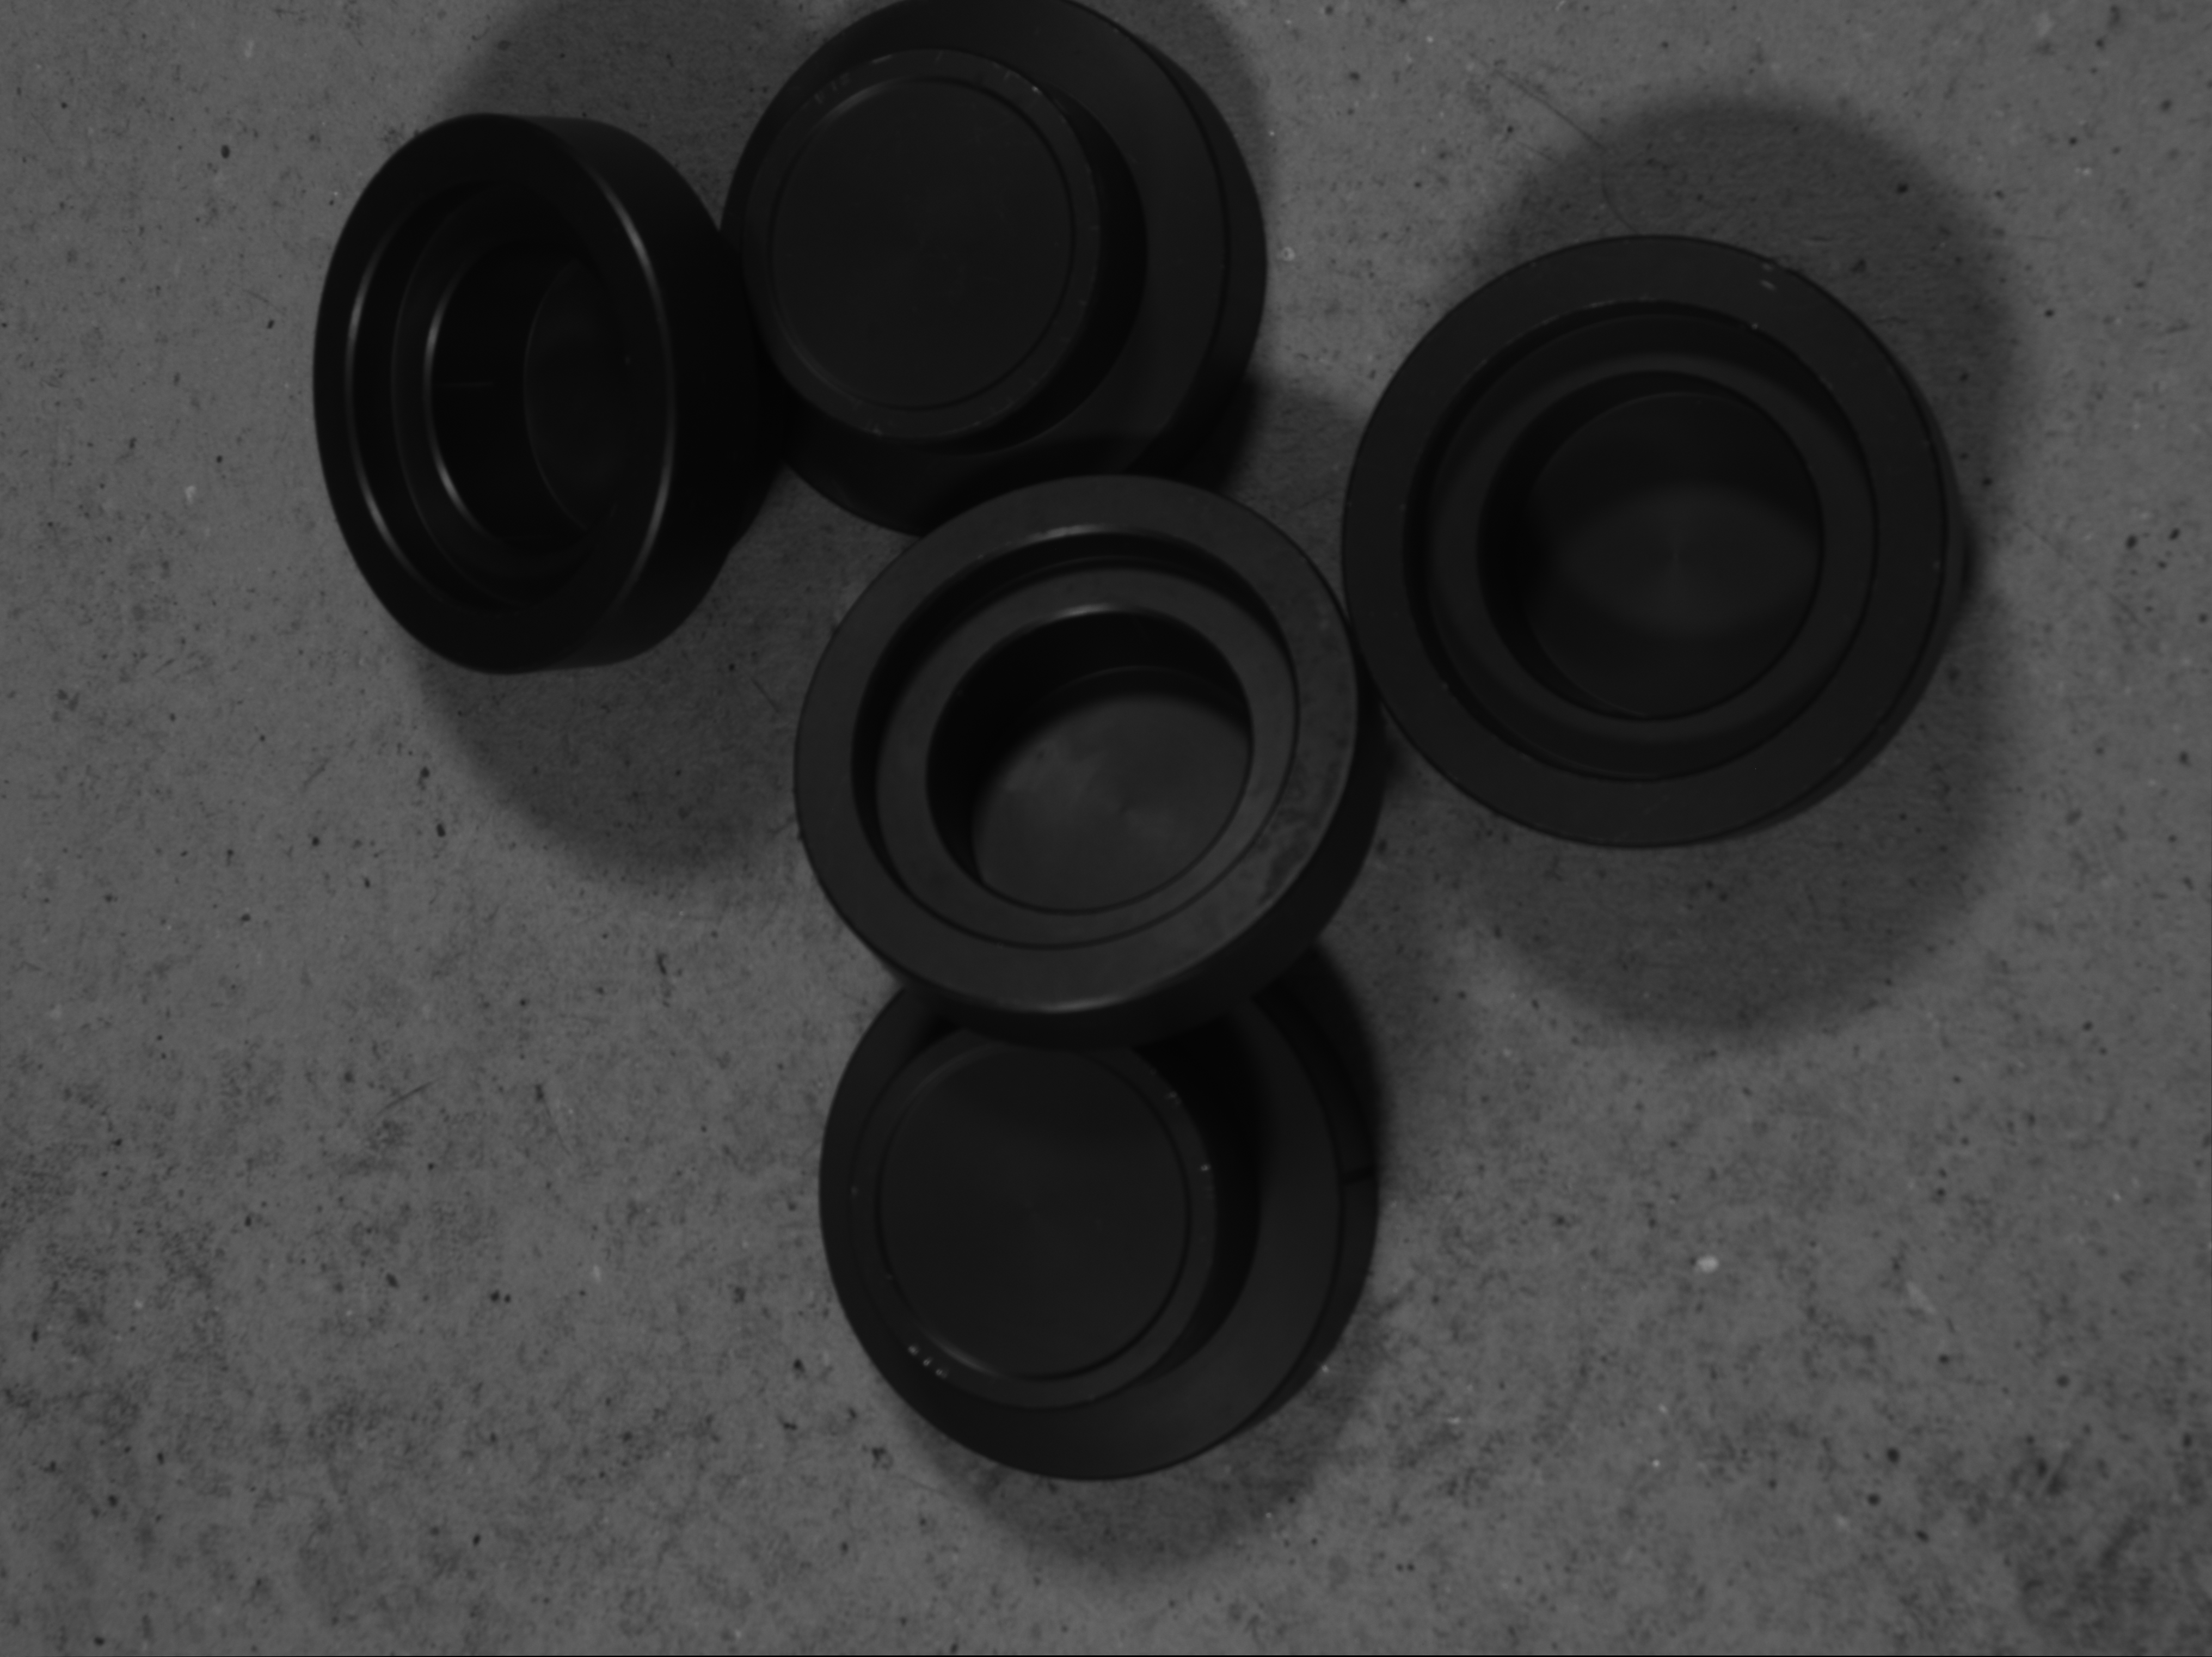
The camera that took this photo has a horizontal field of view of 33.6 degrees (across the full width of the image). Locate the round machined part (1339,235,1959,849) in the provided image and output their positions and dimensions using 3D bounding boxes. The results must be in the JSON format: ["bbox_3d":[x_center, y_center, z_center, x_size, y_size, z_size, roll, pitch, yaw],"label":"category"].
[{"bbox_3d":[0.091,-0.046,0.603,0.098,0.042,0.098,0,90,20],"label":"round machined part"}]

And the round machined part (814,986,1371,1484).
[{"bbox_3d":[-0.007,0.065,0.637,0.098,0.042,0.098,0,90,20],"label":"round machined part"}]

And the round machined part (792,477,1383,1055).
[{"bbox_3d":[-0.001,-0.007,0.624,0.098,0.042,0.098,-6,65,14],"label":"round machined part"}]

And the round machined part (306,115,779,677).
[{"bbox_3d":[-0.097,-0.078,0.659,0.098,0.042,0.098,7,101,40],"label":"round machined part"}]

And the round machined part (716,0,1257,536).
[{"bbox_3d":[-0.026,-0.100,0.644,0.098,0.042,0.098,0,90,20],"label":"round machined part"}]
